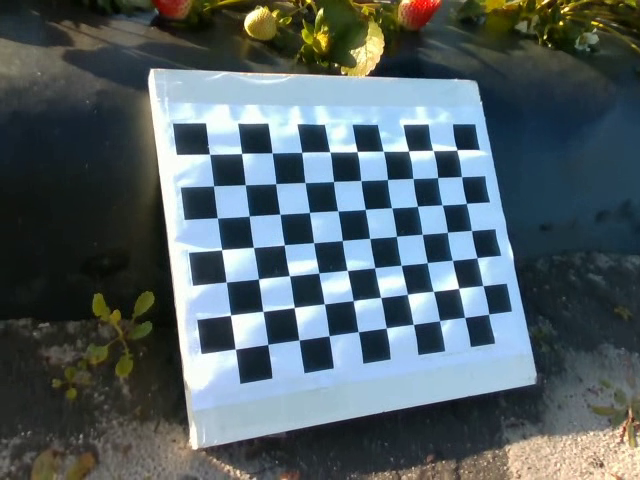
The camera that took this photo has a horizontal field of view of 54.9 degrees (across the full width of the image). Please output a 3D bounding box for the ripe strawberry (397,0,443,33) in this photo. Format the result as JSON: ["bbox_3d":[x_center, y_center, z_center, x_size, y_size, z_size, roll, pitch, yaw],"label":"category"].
[{"bbox_3d":[0.084,-0.193,0.518,0.045,0.037,0.042,-27,-3,38],"label":"ripe strawberry"}]
